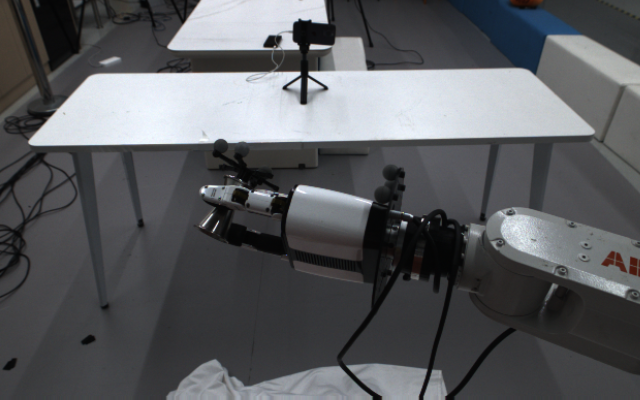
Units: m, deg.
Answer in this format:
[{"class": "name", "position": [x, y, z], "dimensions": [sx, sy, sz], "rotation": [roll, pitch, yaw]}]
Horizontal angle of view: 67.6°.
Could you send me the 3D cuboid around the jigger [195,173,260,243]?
[{"class": "jigger", "position": [-0.109, 0.008, 0.553], "dimensions": [0.043, 0.043, 0.071], "rotation": [20, 74, 24]}]
